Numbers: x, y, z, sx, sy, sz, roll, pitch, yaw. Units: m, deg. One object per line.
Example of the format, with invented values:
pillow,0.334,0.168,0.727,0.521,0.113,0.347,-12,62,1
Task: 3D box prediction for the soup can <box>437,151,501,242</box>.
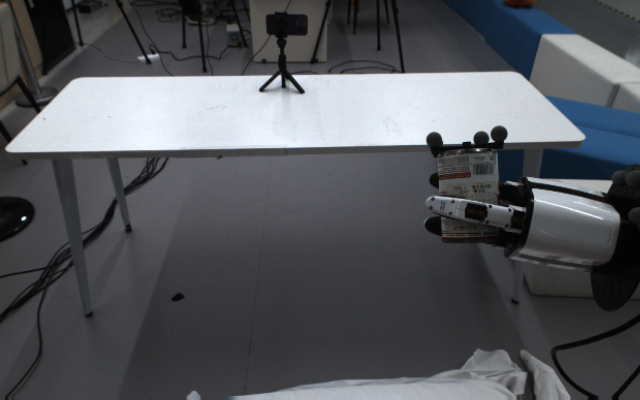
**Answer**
soup can,0.172,-0.003,0.552,0.067,0.101,0.067,-3,-1,0
